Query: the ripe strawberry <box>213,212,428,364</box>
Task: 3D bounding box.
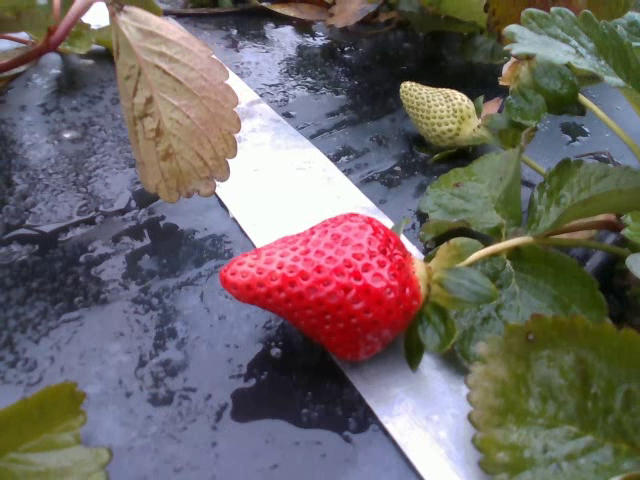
[{"bbox_3d":[-0.001,0.009,0.144,0.051,0.042,0.037,2,-22,-26],"label":"ripe strawberry"}]
